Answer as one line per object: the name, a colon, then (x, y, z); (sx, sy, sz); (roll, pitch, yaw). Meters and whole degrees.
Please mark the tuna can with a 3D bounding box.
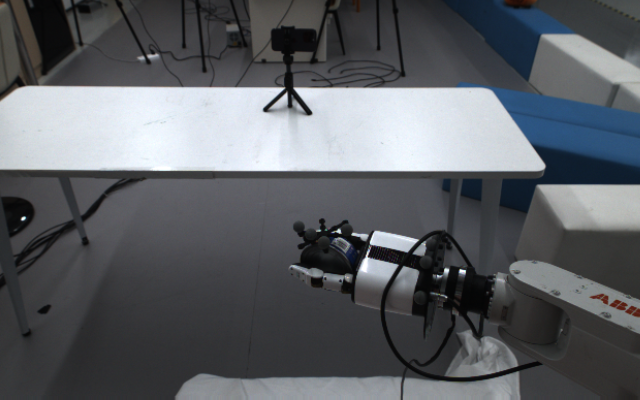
tuna can: (0.017, 0.092, 0.725); (0.085, 0.085, 0.034); (17, 36, 20)
